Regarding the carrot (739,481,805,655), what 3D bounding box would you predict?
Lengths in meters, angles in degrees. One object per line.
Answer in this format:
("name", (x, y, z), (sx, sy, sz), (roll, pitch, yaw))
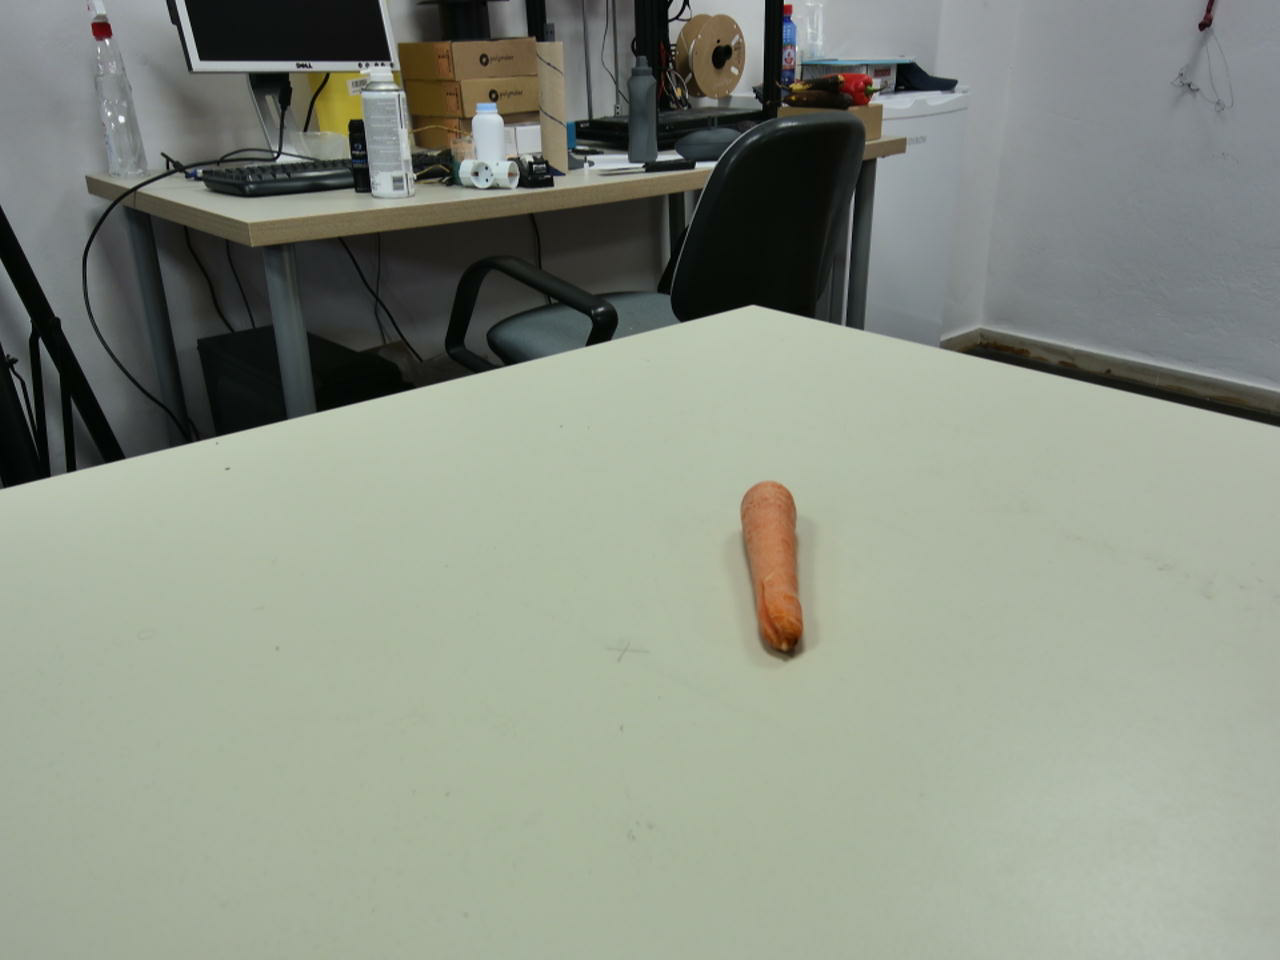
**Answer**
("carrot", (0.063, 0.036, 0.475), (0.030, 0.032, 0.136), (1, 22, 4))
